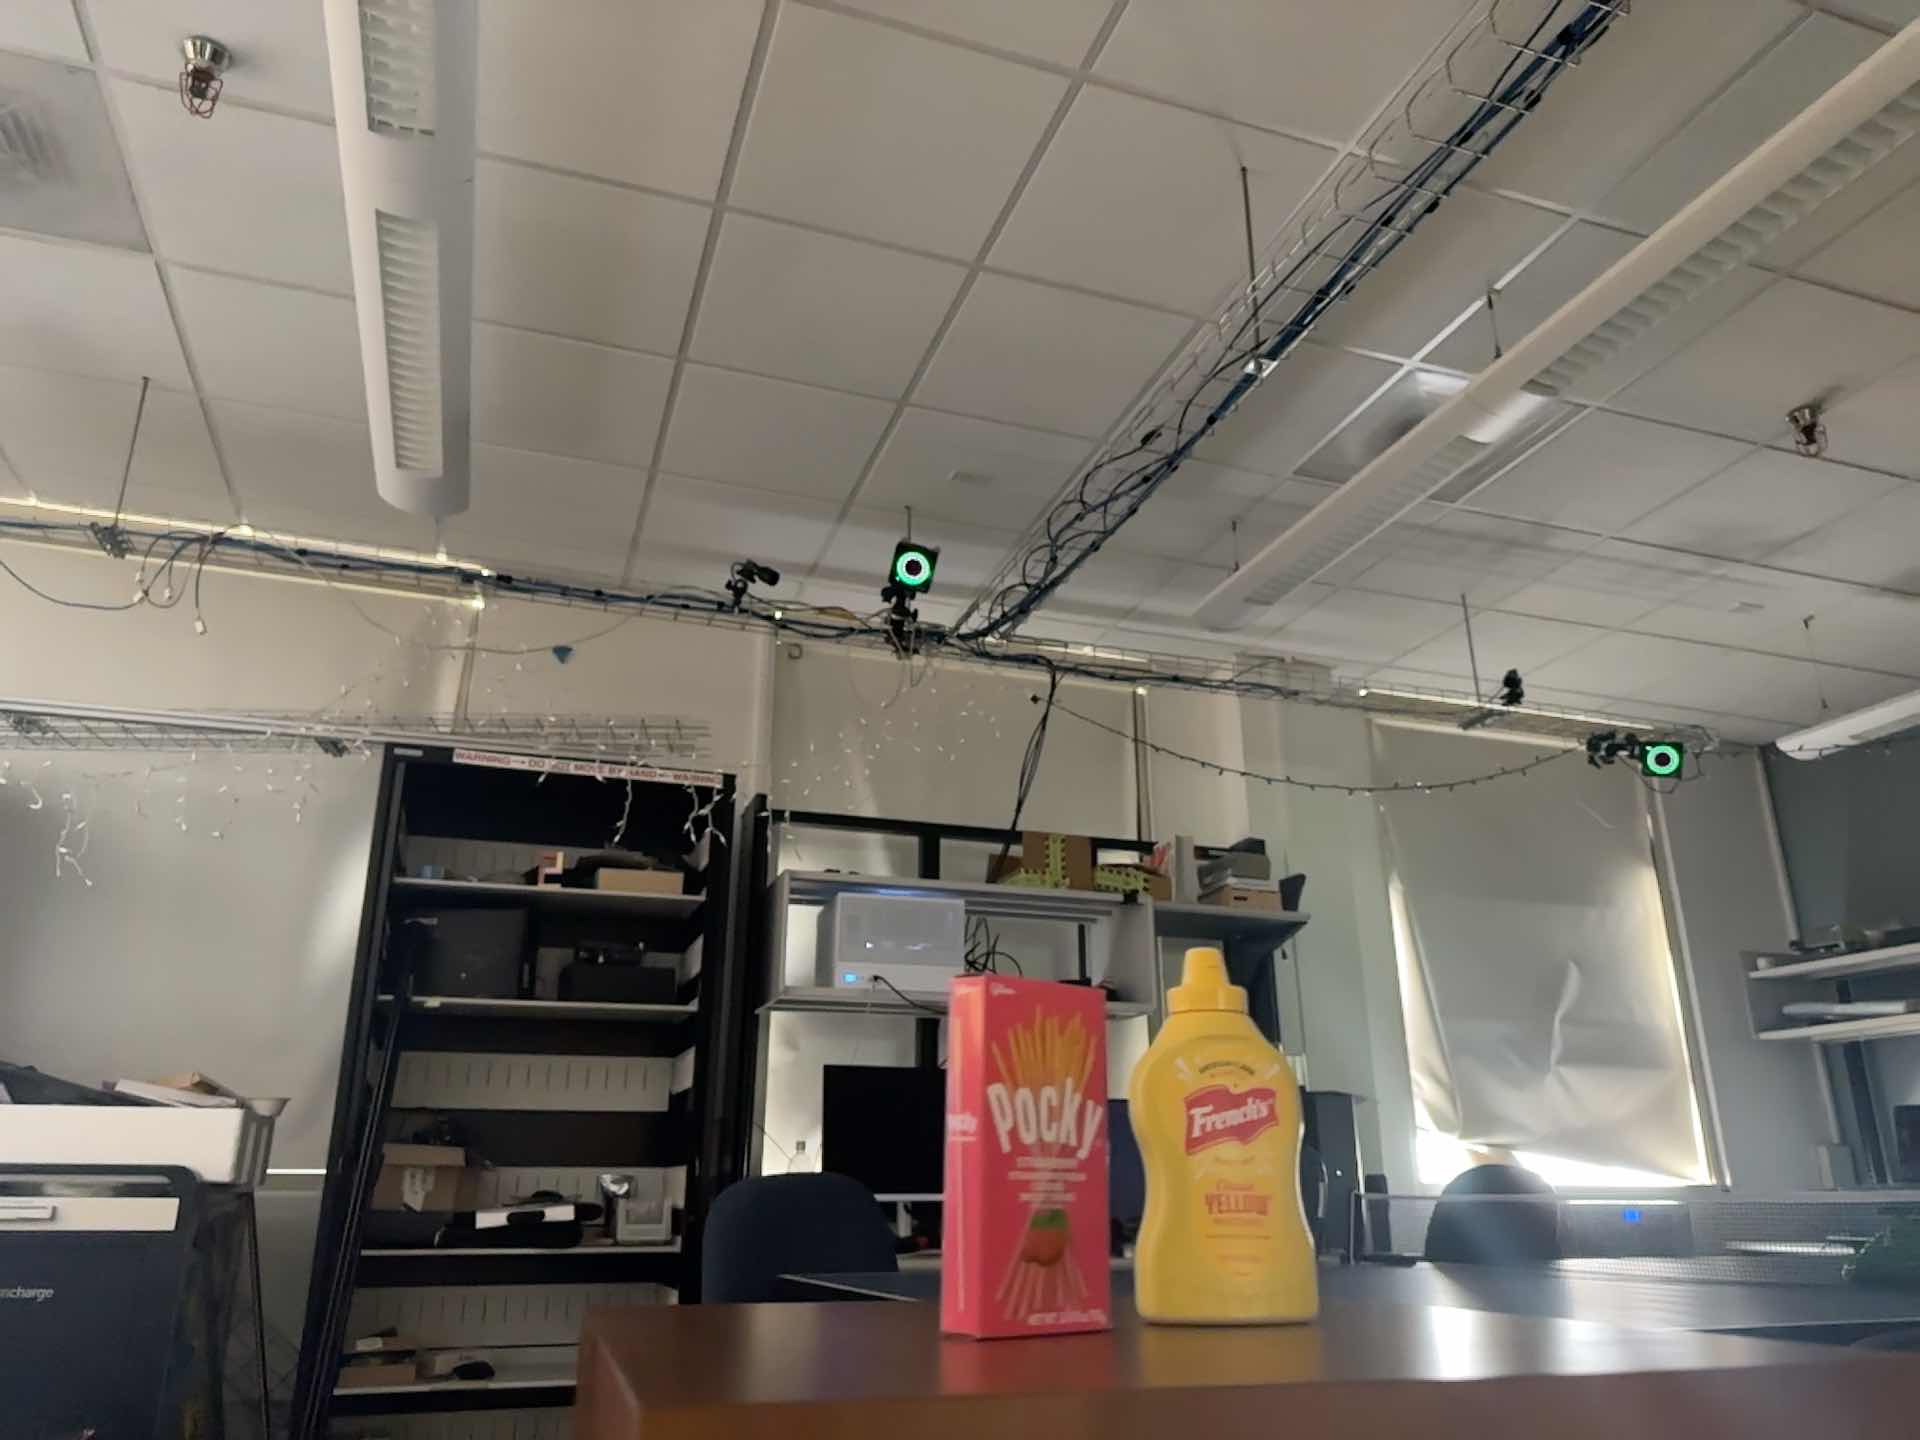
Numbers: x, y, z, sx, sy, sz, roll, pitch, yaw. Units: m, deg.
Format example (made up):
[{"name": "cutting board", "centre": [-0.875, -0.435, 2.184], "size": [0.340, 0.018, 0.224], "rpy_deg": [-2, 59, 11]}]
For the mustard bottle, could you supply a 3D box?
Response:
[{"name": "mustard bottle", "centre": [0.129, 0.202, 0.682], "size": [0.092, 0.184, 0.054], "rpy_deg": [4, -14, -12]}]

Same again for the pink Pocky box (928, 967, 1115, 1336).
[{"name": "pink Pocky box", "centre": [0.030, 0.194, 0.615], "size": [0.084, 0.154, 0.029], "rpy_deg": [13, -21, -31]}]
